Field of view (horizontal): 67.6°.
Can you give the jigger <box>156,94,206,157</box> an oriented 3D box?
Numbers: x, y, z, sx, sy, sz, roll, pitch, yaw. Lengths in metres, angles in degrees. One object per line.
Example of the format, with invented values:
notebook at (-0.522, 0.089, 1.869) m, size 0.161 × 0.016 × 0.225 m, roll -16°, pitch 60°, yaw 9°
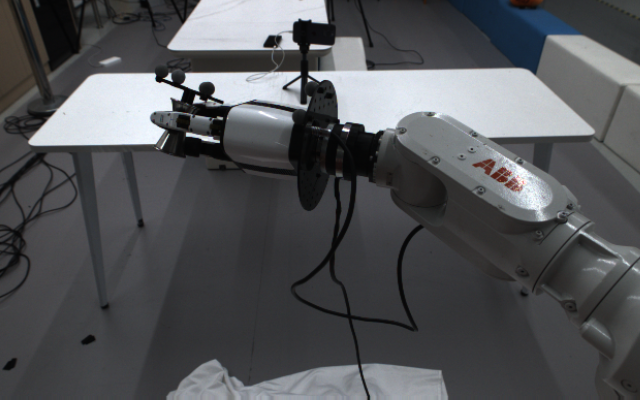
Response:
jigger at (-0.186, -0.094, 0.627) m, size 0.043 × 0.071 × 0.043 m, roll 21°, pitch 6°, yaw -2°
